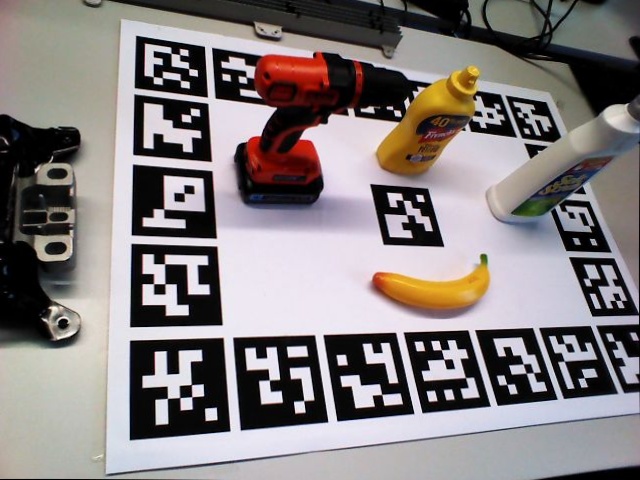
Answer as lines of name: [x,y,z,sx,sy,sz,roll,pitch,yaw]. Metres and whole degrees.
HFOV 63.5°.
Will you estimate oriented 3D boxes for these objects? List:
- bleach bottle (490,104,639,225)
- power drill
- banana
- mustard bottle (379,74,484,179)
bleach bottle: [0.364,-0.110,0.743,0.102,0.252,0.067,10,60,-18]
power drill: [0.008,-0.138,0.616,0.184,0.188,0.057,-5,65,-20]
banana: [0.170,0.060,0.691,0.197,0.039,0.074,-4,67,-21]
mustard bottle: [0.167,-0.160,0.729,0.096,0.193,0.058,-5,66,-26]
